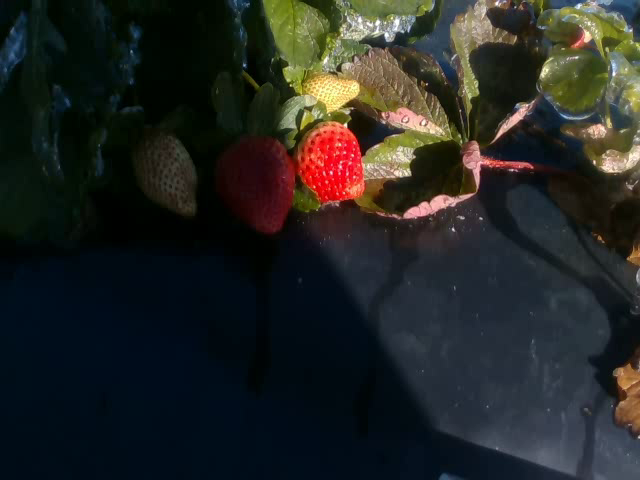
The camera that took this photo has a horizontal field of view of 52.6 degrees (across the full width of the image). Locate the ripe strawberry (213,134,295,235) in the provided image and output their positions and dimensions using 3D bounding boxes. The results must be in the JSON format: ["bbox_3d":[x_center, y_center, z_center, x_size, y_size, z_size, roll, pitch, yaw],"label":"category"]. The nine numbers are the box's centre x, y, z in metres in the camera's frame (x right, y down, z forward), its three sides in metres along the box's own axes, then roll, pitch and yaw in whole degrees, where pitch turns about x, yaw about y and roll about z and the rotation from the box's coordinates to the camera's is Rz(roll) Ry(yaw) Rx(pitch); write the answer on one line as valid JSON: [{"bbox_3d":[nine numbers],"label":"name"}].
[{"bbox_3d":[-0.022,-0.017,0.251,0.036,0.040,0.052,-21,41,-7],"label":"ripe strawberry"}]

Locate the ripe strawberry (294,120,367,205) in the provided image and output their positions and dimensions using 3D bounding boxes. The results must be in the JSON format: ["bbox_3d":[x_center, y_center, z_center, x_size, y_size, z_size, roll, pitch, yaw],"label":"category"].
[{"bbox_3d":[0.007,-0.032,0.274,0.041,0.036,0.030,42,-10,13],"label":"ripe strawberry"}]
